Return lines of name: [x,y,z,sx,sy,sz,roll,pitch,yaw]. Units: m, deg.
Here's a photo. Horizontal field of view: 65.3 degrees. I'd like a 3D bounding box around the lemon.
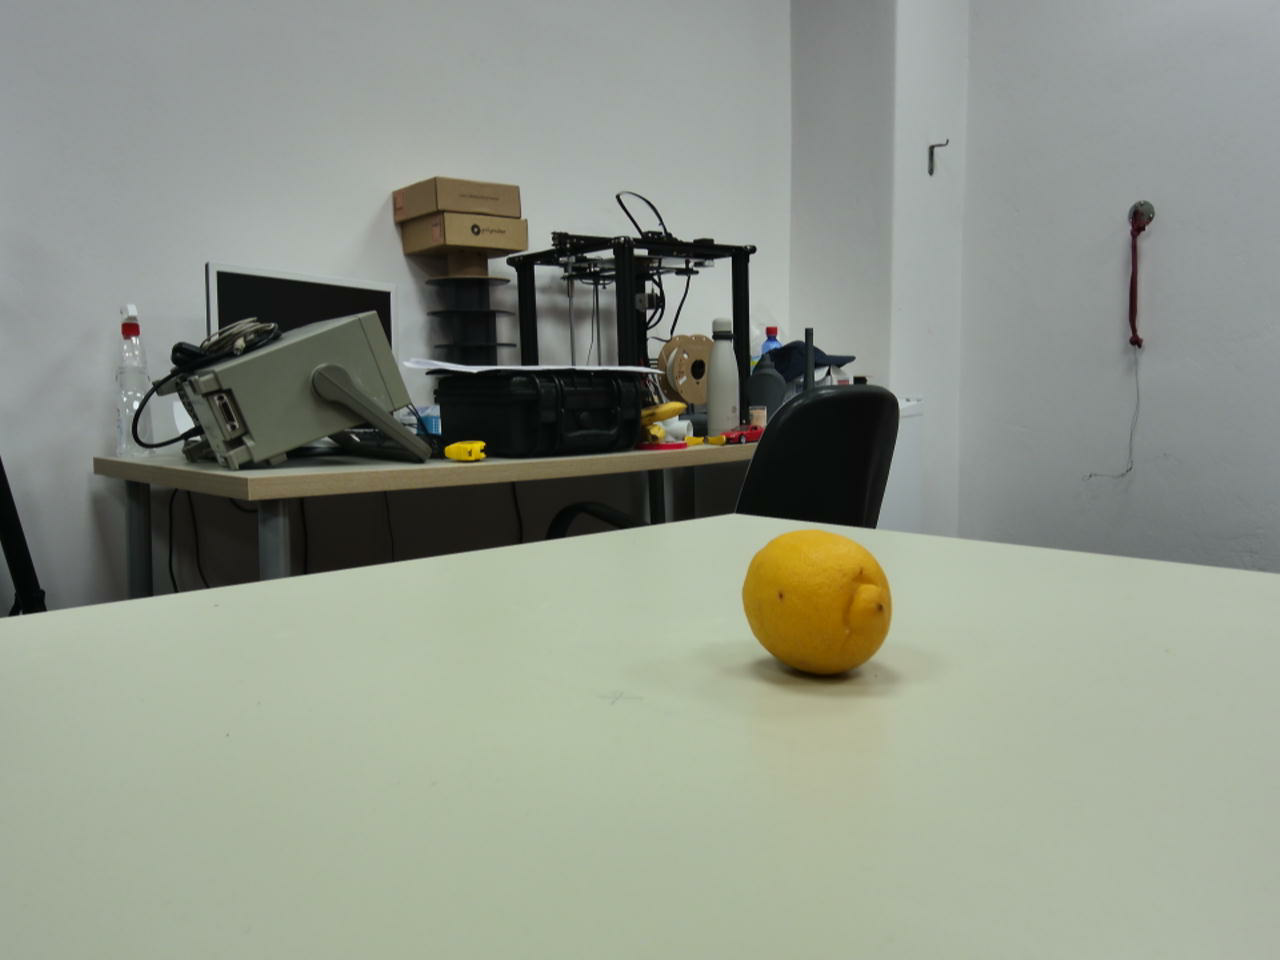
lemon: [0.075,0.052,0.431,0.061,0.059,0.067,0,3,2]
